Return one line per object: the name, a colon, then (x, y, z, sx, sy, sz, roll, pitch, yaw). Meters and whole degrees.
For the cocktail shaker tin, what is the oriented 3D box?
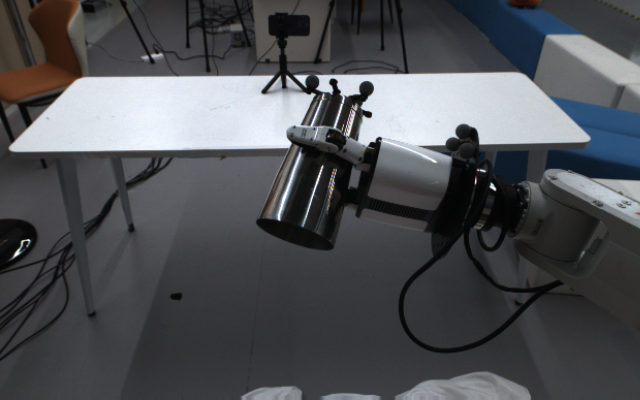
cocktail shaker tin: (-0.005, -0.038, 0.566, 0.093, 0.093, 0.170, 13, 70, 15)
